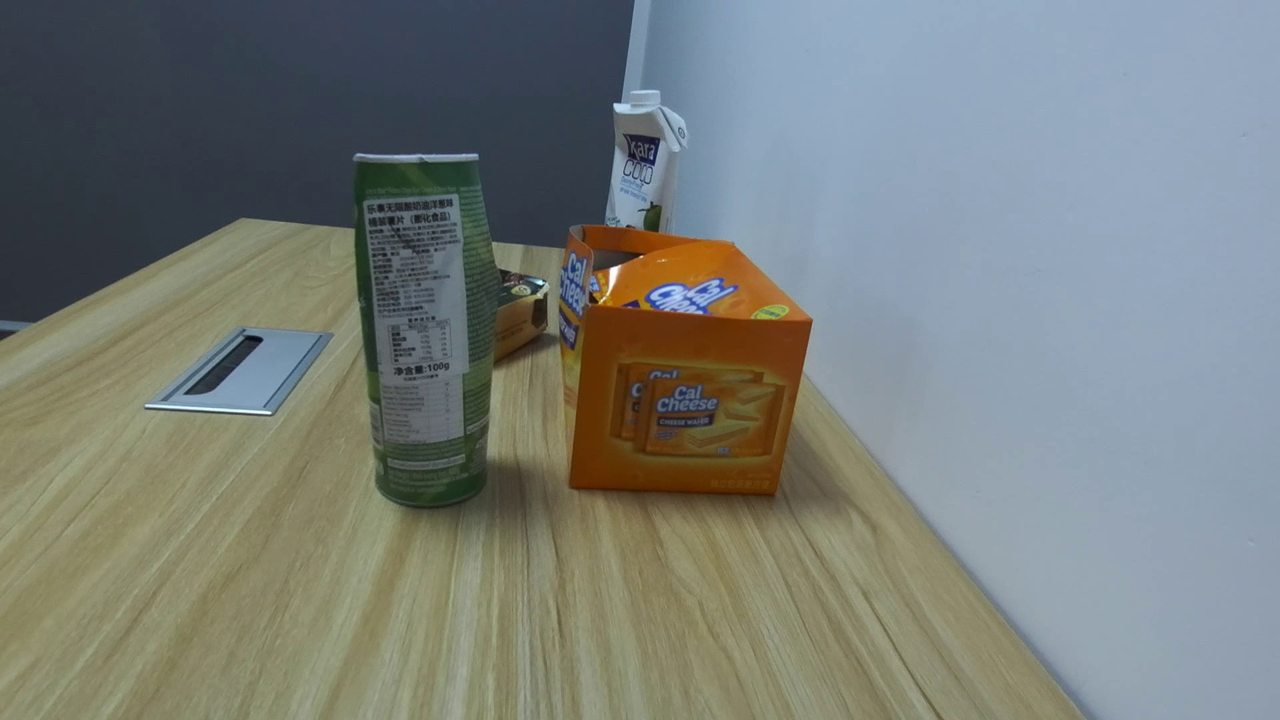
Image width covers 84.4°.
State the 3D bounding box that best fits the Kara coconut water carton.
[{"bbox_3d":[0.000,-0.149,0.724,0.070,0.238,0.114,-12,28,-39],"label":"Kara coconut water carton"}]

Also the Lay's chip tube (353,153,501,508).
[{"bbox_3d":[-0.120,-0.017,0.413,0.069,0.201,0.077,5,19,-6],"label":"Lay's chip tube"}]

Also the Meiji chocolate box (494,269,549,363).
[{"bbox_3d":[-0.160,-0.044,0.670,0.122,0.058,0.116,17,29,25],"label":"Meiji chocolate box"}]

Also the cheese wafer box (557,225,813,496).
[{"bbox_3d":[0.017,-0.012,0.545,0.152,0.132,0.230,3,23,-9],"label":"cheese wafer box"}]
